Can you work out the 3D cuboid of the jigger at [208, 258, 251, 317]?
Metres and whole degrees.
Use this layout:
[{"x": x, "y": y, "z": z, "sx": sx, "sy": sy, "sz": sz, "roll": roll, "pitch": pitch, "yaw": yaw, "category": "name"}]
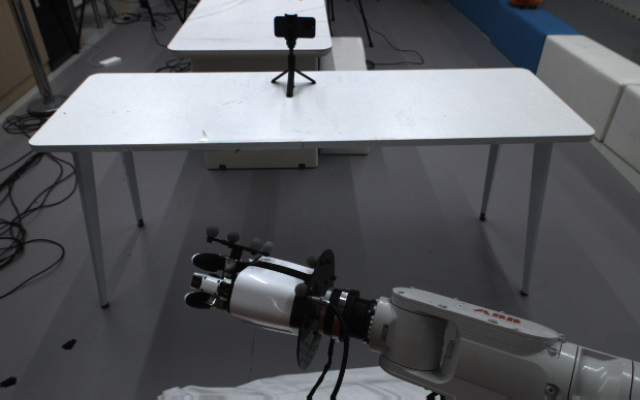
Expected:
[{"x": -0.124, "y": 0.114, "z": 0.671, "sx": 0.043, "sy": 0.071, "sz": 0.043, "roll": 15, "pitch": -7, "yaw": 2, "category": "jigger"}]
